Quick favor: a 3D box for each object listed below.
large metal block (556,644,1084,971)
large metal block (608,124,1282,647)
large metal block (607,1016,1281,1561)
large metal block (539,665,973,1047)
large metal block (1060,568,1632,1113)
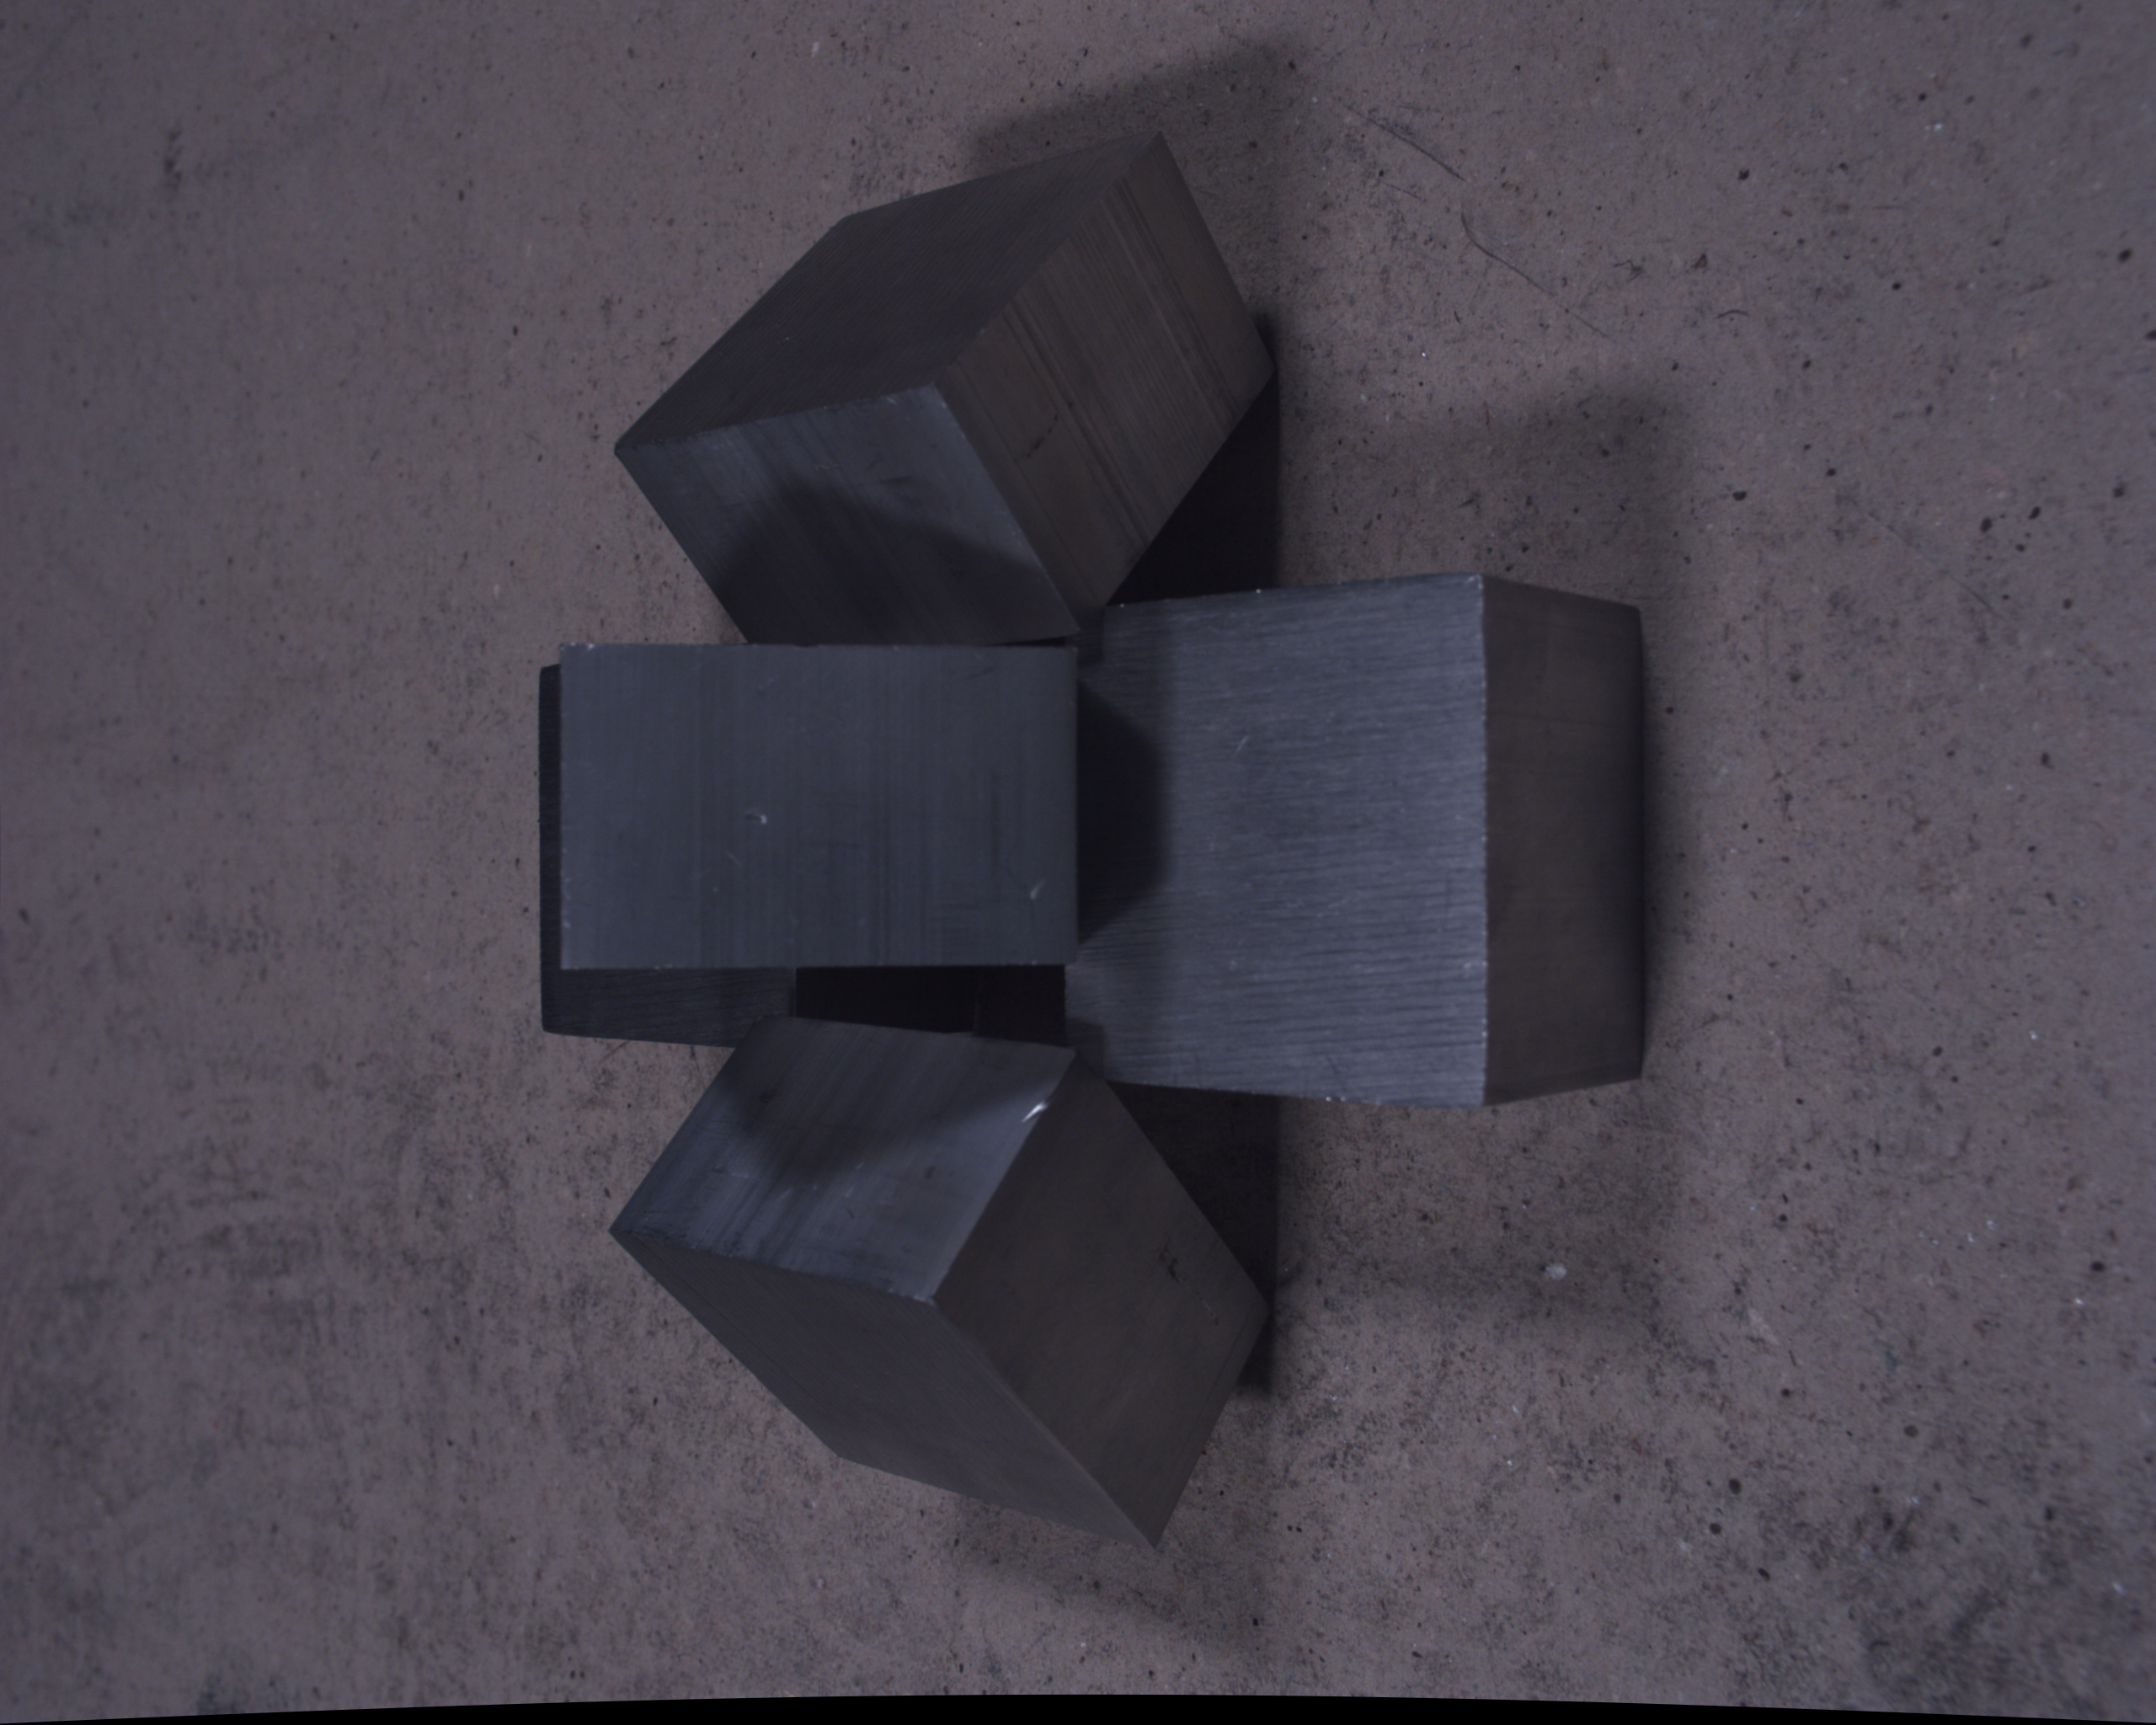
[{"bbox_3d":[-0.043,-0.009,0.362,0.080,0.081,0.050,179,90,-84],"label":"large metal block"},{"bbox_3d":[-0.023,-0.083,0.380,0.080,0.080,0.050,0,134,40],"label":"large metal block"},{"bbox_3d":[-0.023,0.075,0.380,0.080,0.080,0.050,2,48,40],"label":"large metal block"},{"bbox_3d":[-0.069,-0.003,0.445,0.080,0.050,0.079,0,90,39],"label":"large metal block"},{"bbox_3d":[0.044,-0.004,0.349,0.080,0.050,0.079,0,90,39],"label":"large metal block"}]
